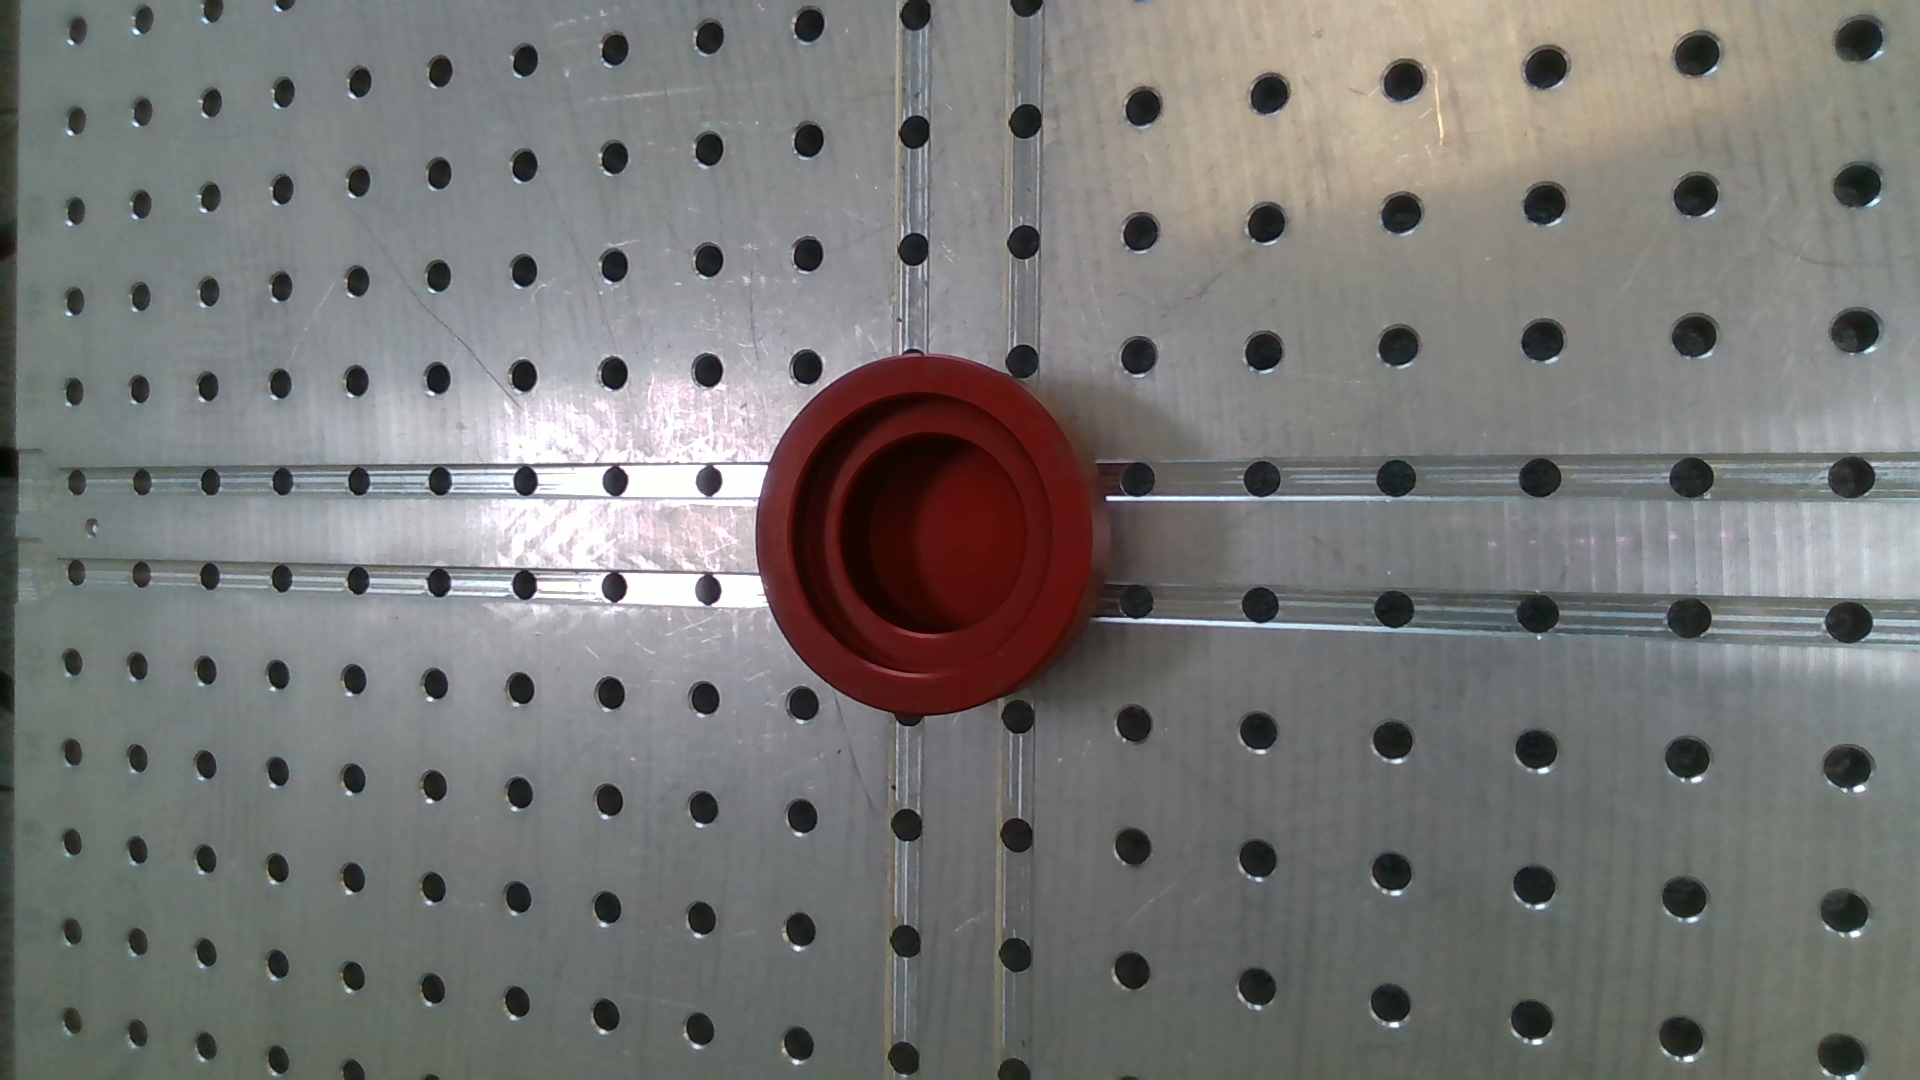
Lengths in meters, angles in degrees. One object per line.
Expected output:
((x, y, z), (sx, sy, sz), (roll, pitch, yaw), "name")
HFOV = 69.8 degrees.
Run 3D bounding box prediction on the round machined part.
((-0.005, -0.002, 0.389), (0.098, 0.042, 0.098), (0, 90, 20), "round machined part")
